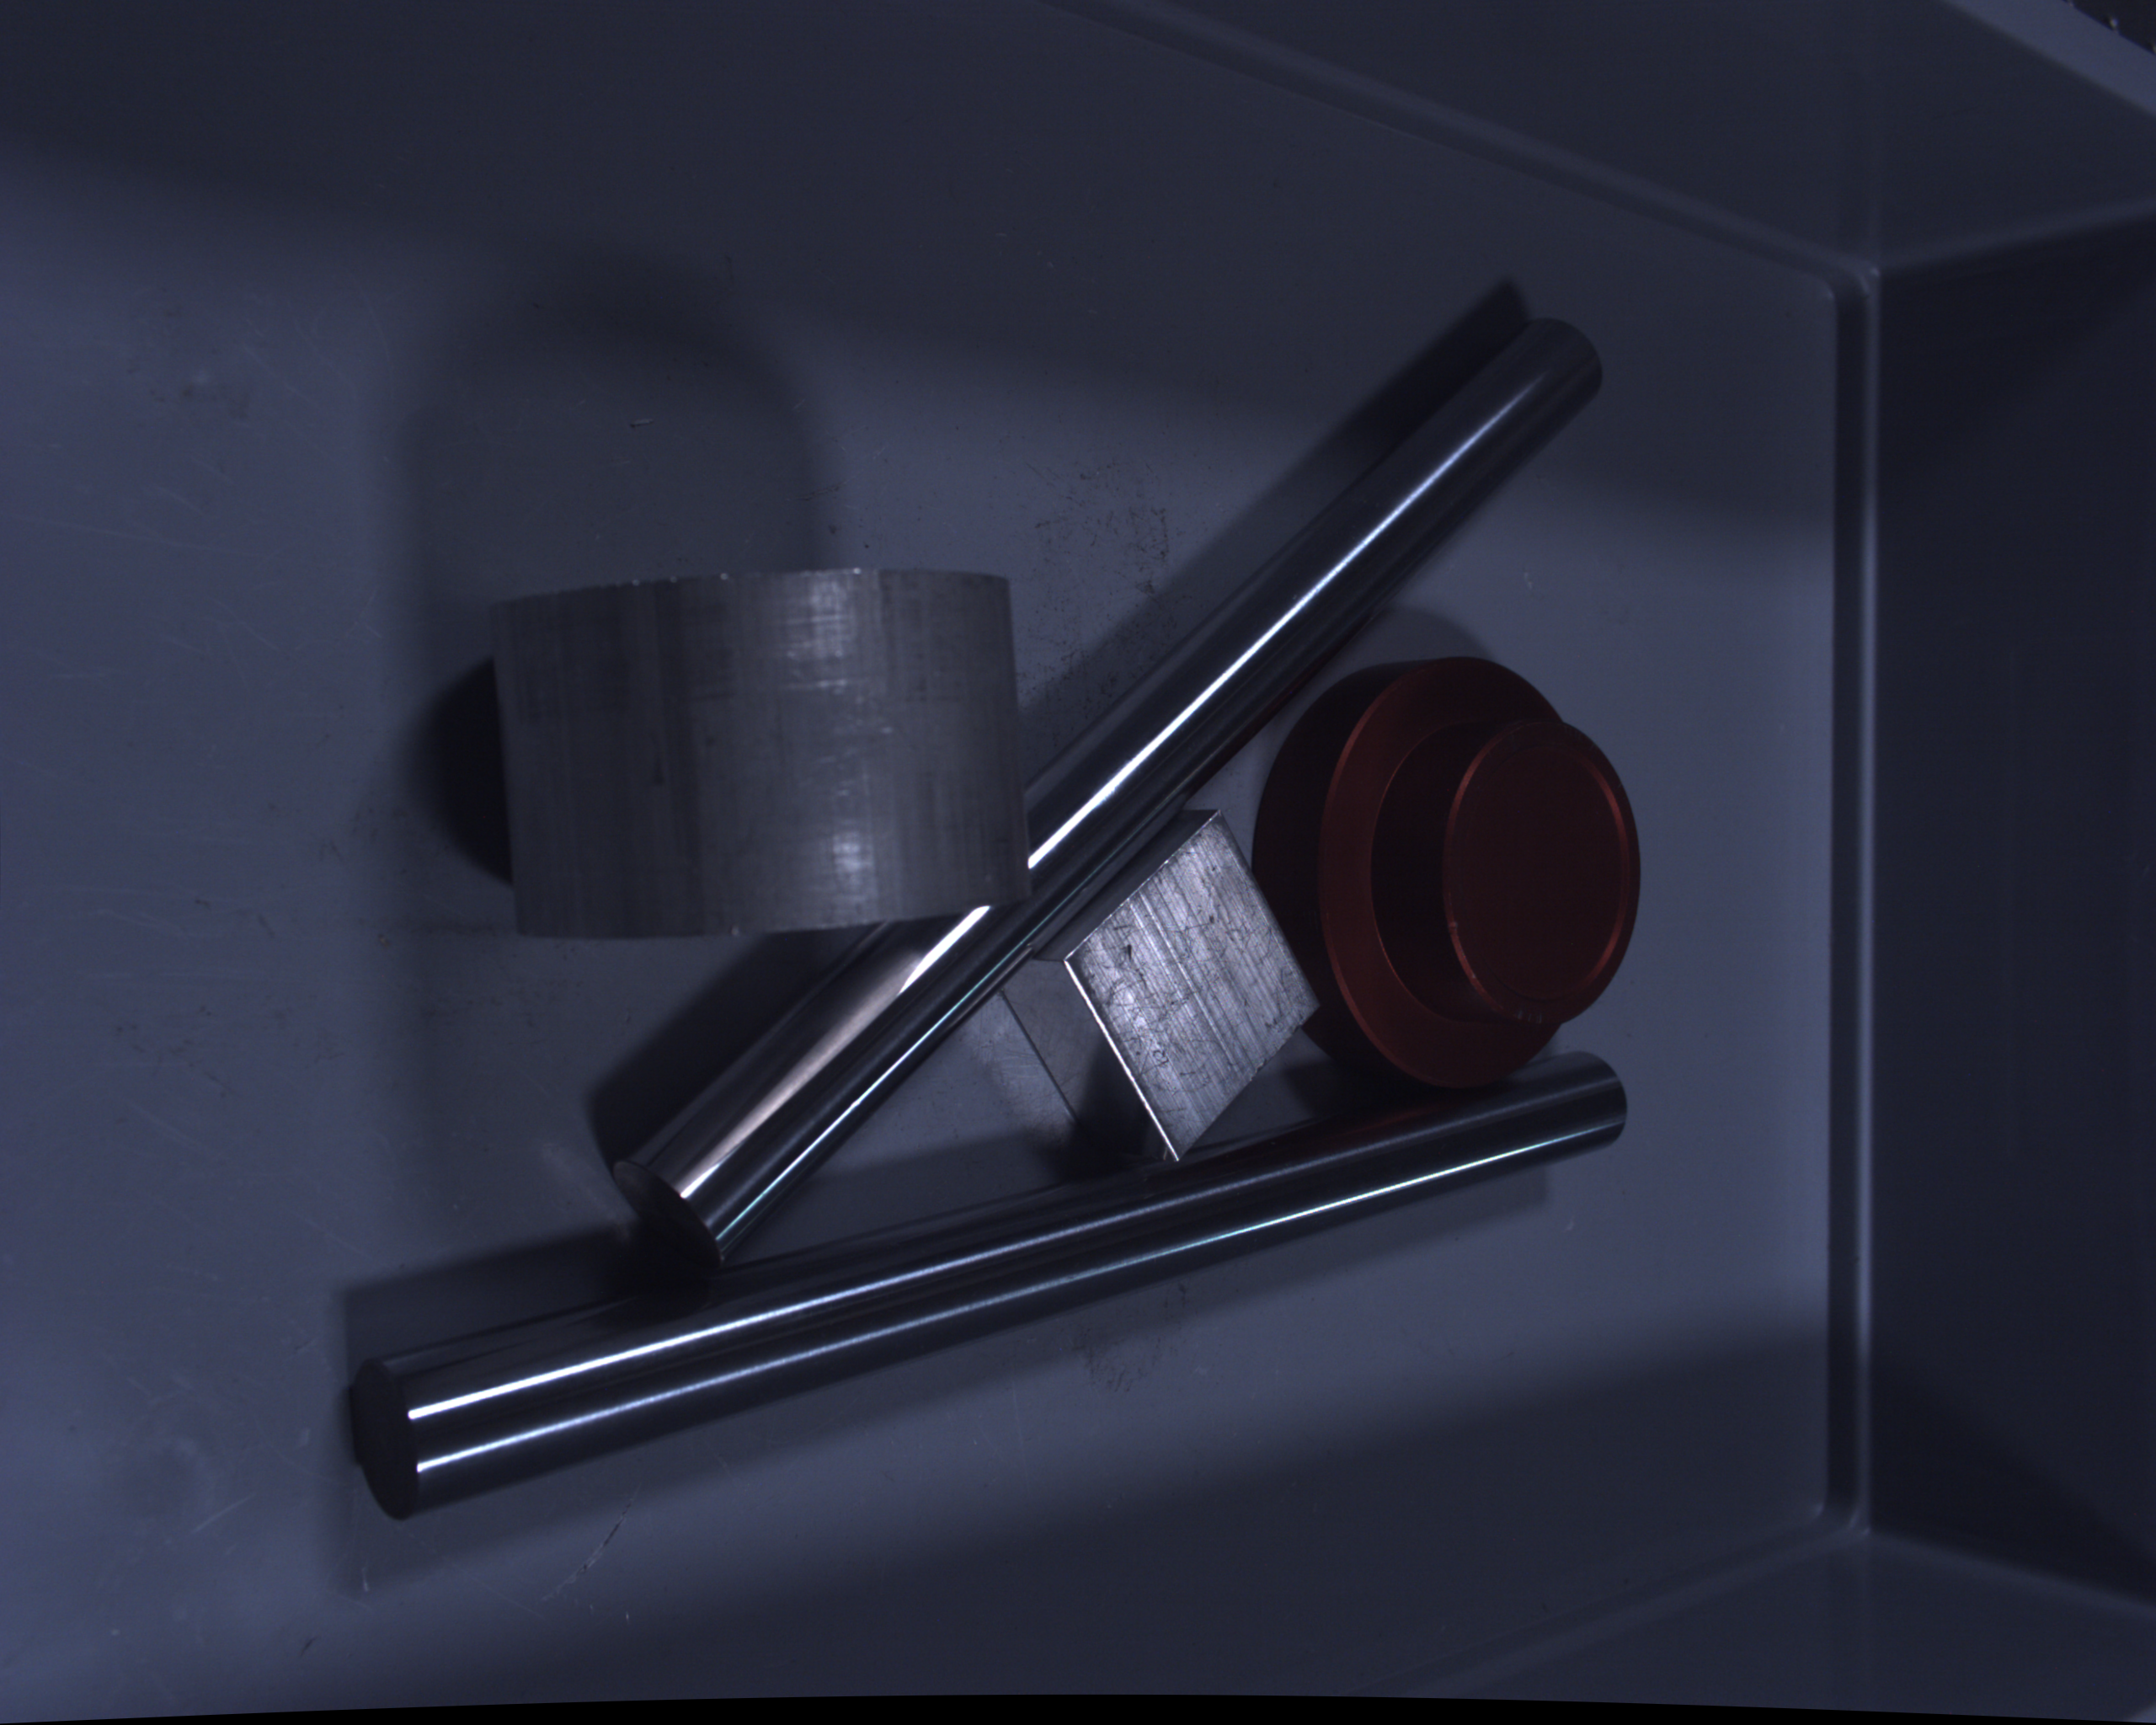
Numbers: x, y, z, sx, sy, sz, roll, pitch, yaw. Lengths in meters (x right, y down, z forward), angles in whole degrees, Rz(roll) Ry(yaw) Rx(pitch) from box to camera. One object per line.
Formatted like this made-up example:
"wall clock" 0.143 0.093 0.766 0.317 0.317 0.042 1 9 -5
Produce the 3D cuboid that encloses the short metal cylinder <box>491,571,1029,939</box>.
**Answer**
"short metal cylinder" -0.049 -0.017 0.330 0.081 0.080 0.050 -7 95 -40

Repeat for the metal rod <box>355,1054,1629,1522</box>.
"metal rod" 0.010 0.073 0.415 0.302 0.025 0.025 -7 95 -40

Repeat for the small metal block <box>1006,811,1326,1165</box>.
"small metal block" 0.017 0.024 0.420 0.050 0.025 0.050 -43 116 -32

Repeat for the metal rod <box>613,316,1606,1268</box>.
"metal rod" 0.024 -0.031 0.427 0.301 0.025 0.025 -44 117 -31

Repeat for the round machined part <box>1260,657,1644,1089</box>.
"round machined part" 0.090 0.002 0.470 0.099 0.042 0.097 0 90 -40
